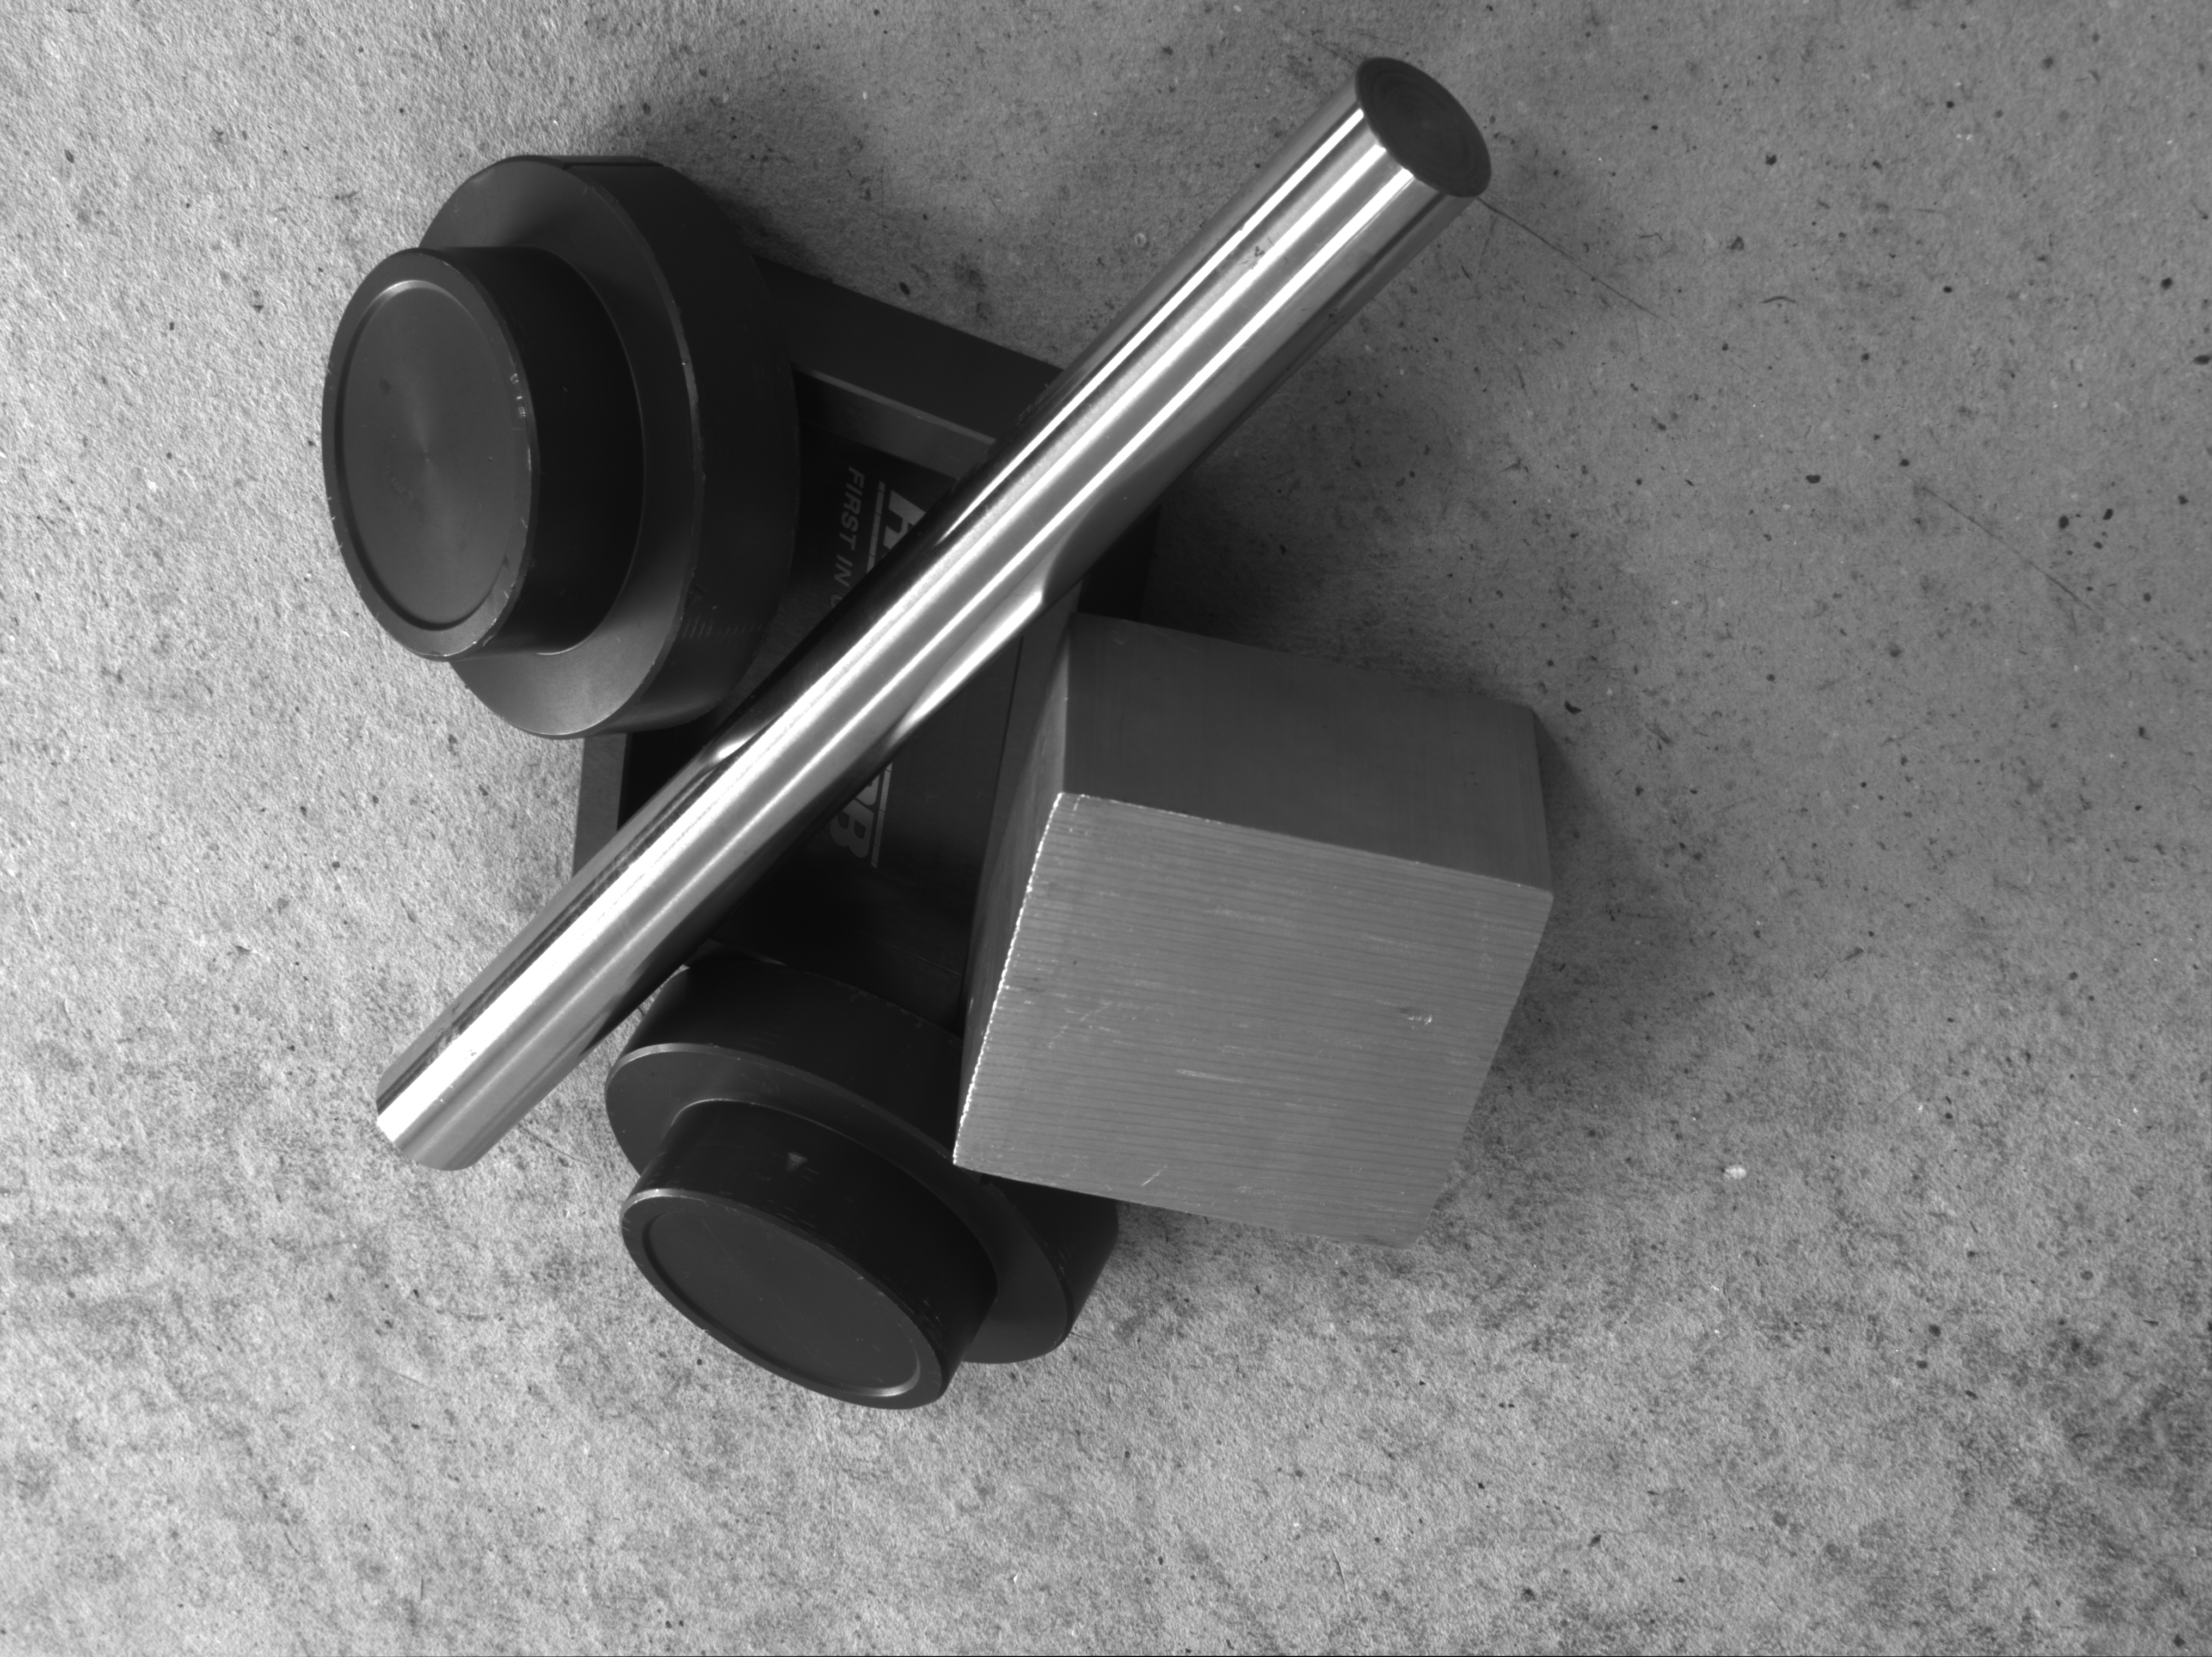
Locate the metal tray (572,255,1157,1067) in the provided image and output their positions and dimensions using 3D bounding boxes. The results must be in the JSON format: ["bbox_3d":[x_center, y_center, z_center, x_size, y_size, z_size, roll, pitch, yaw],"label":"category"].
[{"bbox_3d":[-0.044,-0.027,0.647,0.090,0.030,0.130,22,127,15],"label":"metal tray"}]

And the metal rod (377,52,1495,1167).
[{"bbox_3d":[-0.042,-0.023,0.614,0.025,0.025,0.299,46,129,-3],"label":"metal rod"}]

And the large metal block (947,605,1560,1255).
[{"bbox_3d":[0.023,0.018,0.607,0.080,0.050,0.080,12,126,-7],"label":"large metal block"}]

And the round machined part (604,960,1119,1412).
[{"bbox_3d":[-0.050,0.072,0.681,0.098,0.042,0.098,21,148,14],"label":"round machined part"}]

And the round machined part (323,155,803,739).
[{"bbox_3d":[-0.097,-0.064,0.619,0.098,0.042,0.098,12,106,48],"label":"round machined part"}]
